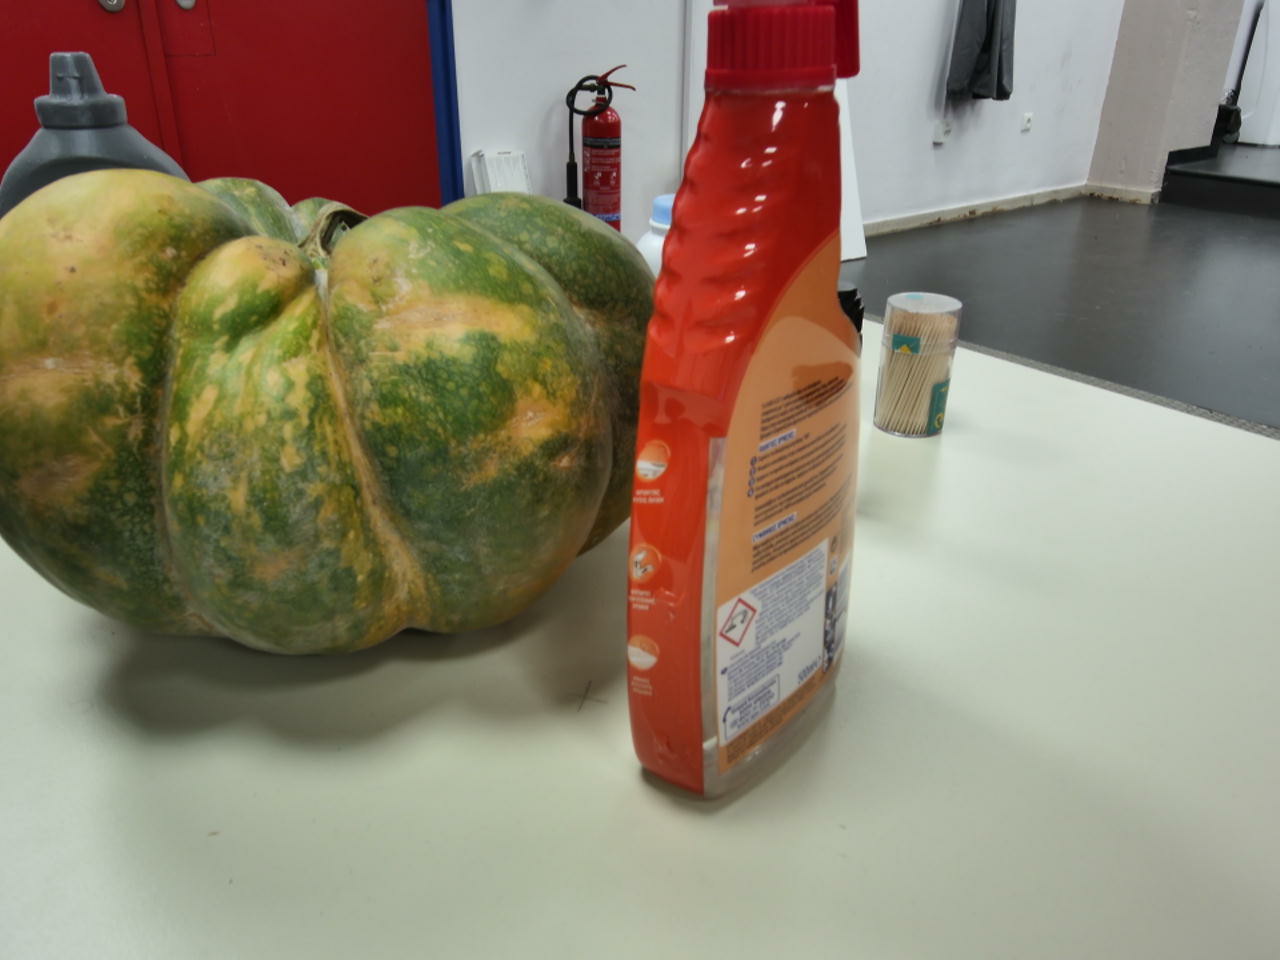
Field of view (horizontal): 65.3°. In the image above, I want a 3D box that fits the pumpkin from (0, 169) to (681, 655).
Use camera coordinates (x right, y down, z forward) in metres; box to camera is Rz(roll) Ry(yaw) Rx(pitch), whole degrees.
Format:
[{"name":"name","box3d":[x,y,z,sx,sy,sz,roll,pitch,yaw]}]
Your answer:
[{"name":"pumpkin","box3d":[-0.121,-0.038,0.390,0.270,0.173,0.237,-1,24,-2]}]
